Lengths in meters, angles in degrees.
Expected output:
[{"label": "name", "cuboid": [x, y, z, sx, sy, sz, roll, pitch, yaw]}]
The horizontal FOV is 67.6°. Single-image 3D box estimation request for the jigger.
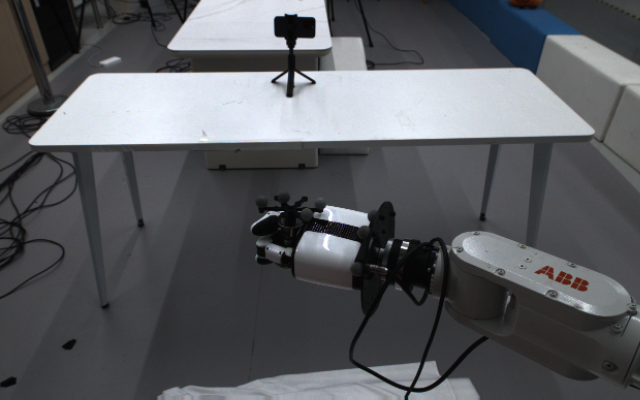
[{"label": "jigger", "cuboid": [-0.039, 0.058, 0.698, 0.043, 0.071, 0.043, 3, 25, -1]}]
